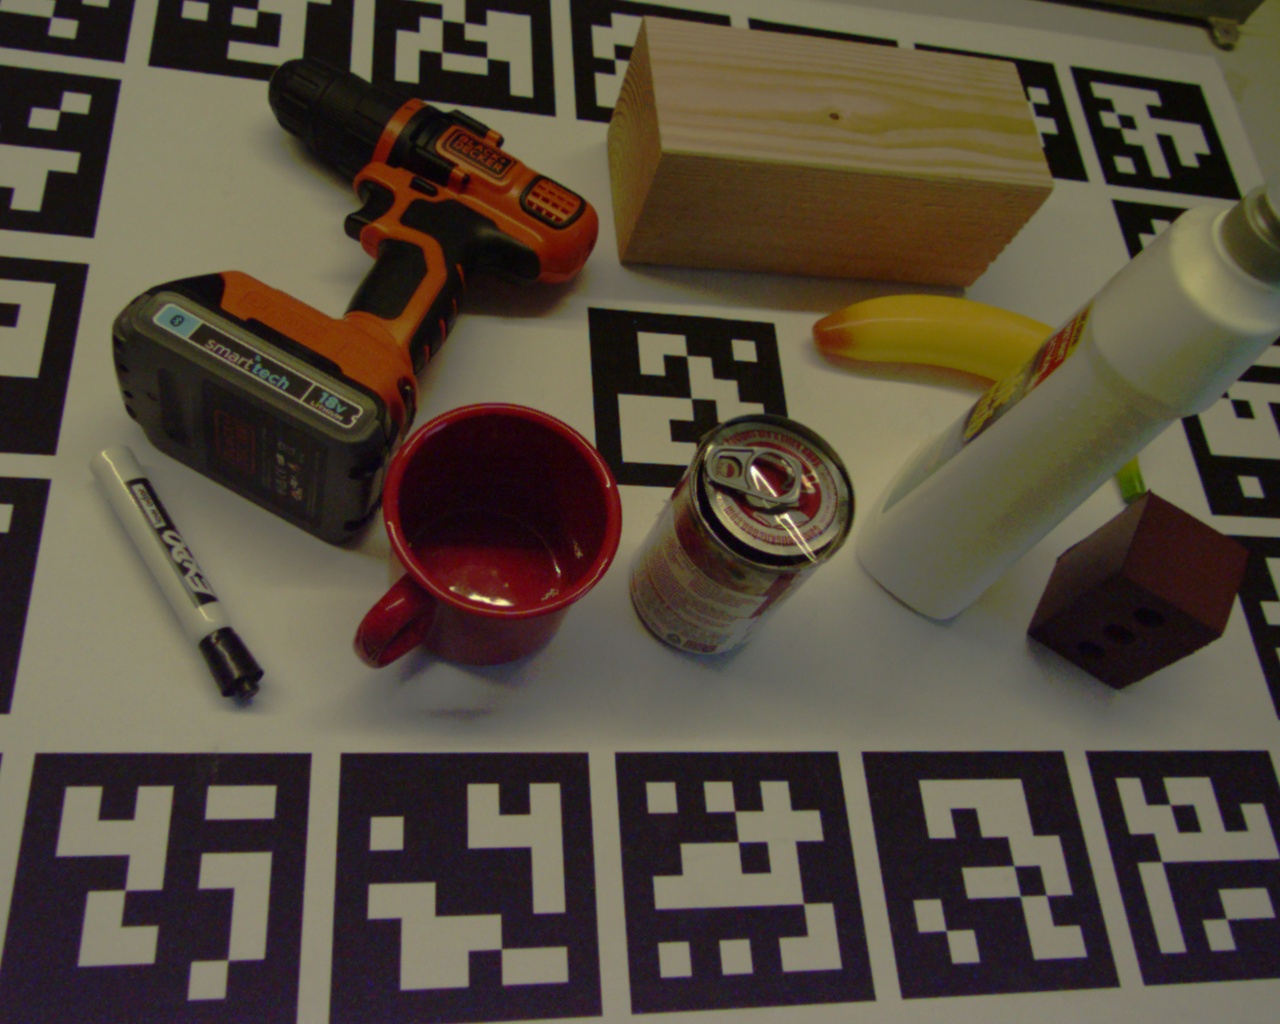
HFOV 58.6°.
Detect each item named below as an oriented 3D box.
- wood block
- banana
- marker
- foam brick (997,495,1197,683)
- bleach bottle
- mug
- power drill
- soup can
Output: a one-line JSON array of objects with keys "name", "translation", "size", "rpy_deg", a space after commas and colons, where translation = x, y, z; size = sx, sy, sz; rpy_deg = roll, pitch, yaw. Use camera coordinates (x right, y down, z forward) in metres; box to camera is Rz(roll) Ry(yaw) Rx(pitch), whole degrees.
[{"name": "wood block", "translation": [0.087, -0.182, 0.637], "size": [0.205, 0.091, 0.090], "rpy_deg": [1, 65, -14]}, {"name": "banana", "translation": [0.167, -0.090, 0.636], "size": [0.196, 0.039, 0.074], "rpy_deg": [17, 74, -8]}, {"name": "marker", "translation": [-0.195, 0.031, 0.496], "size": [0.019, 0.020, 0.122], "rpy_deg": [-28, 74, -23]}, {"name": "foam brick", "translation": [0.226, 0.040, 0.567], "size": [0.053, 0.078, 0.051], "rpy_deg": [31, 58, 4]}, {"name": "bleach bottle", "translation": [0.168, -0.043, 0.493], "size": [0.068, 0.251, 0.102], "rpy_deg": [28, 59, 0]}, {"name": "mug", "translation": [-0.075, 0.017, 0.494], "size": [0.093, 0.082, 0.116], "rpy_deg": [41, 64, 5]}, {"name": "power drill", "translation": [-0.138, -0.108, 0.563], "size": [0.184, 0.057, 0.186], "rpy_deg": [29, 59, -3]}, {"name": "soup can", "translation": [0.033, 0.010, 0.509], "size": [0.067, 0.102, 0.068], "rpy_deg": [8, 58, -13]}]
